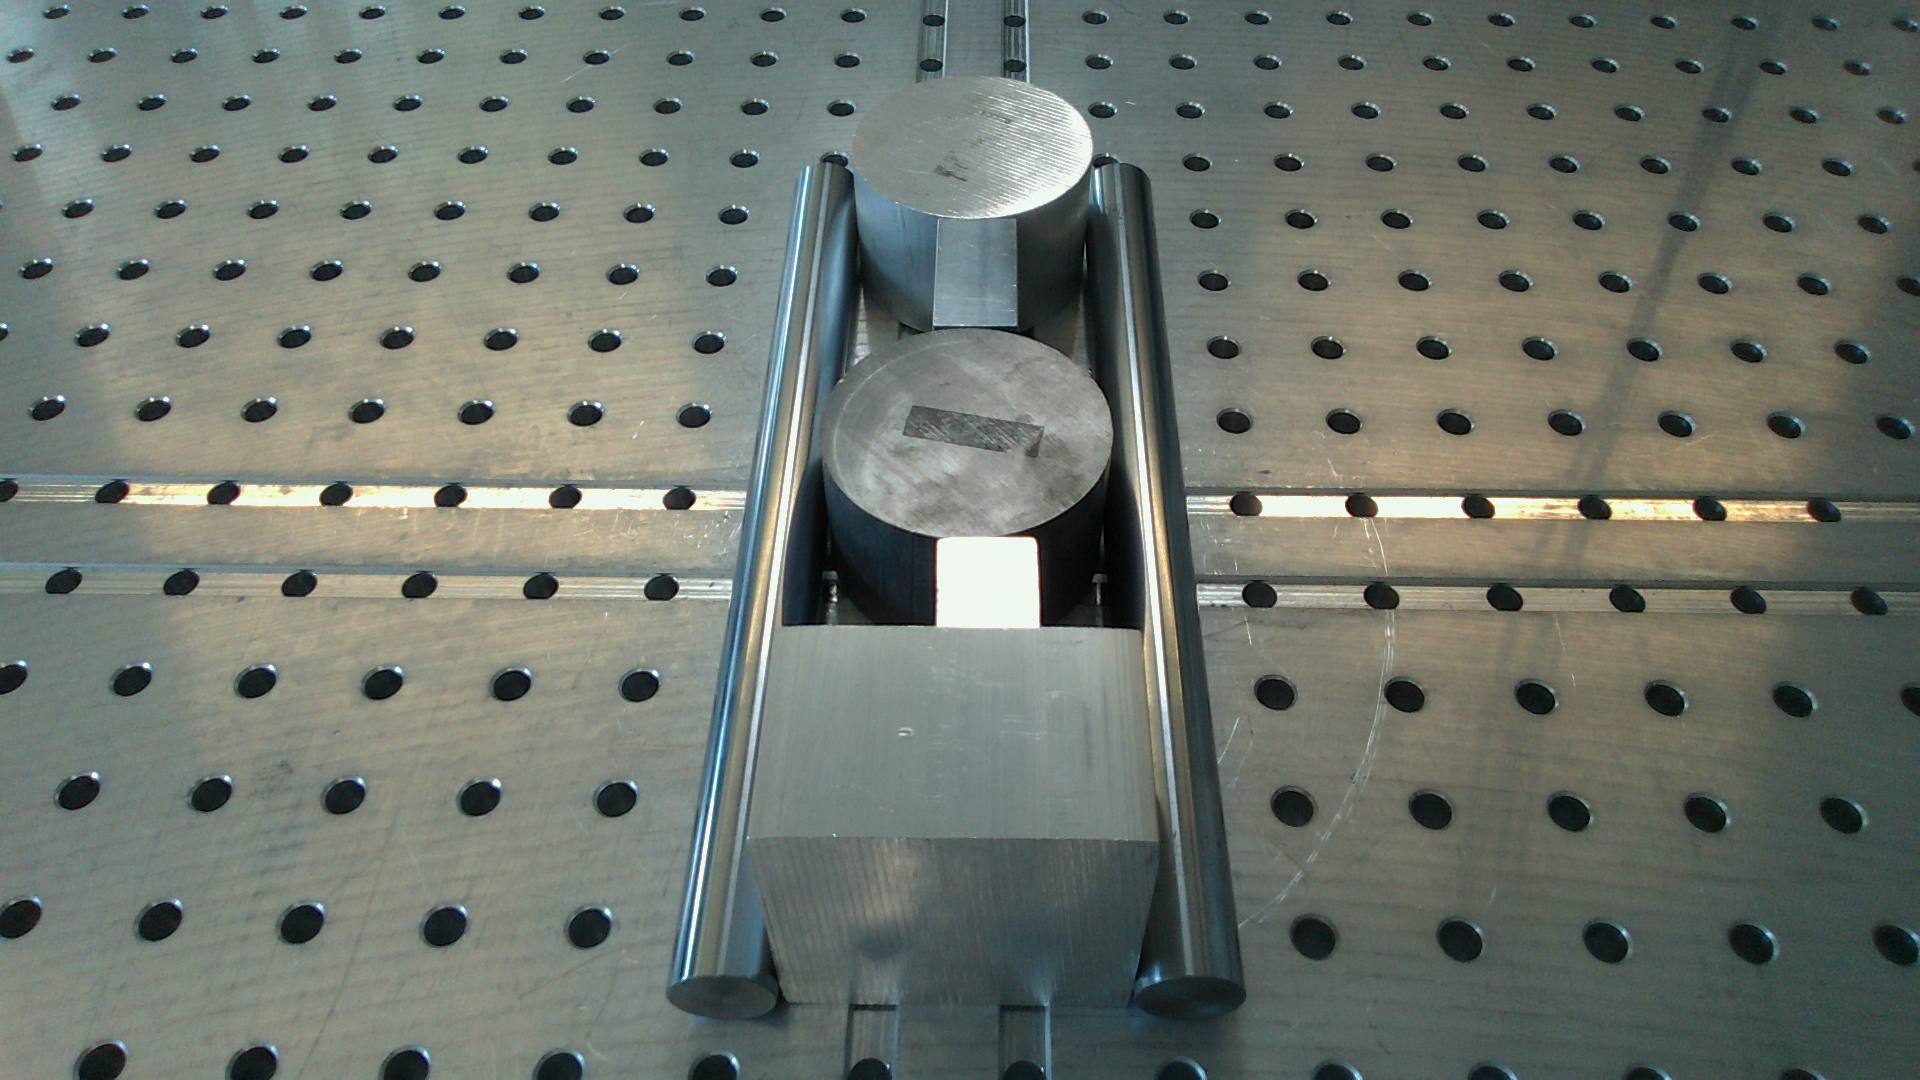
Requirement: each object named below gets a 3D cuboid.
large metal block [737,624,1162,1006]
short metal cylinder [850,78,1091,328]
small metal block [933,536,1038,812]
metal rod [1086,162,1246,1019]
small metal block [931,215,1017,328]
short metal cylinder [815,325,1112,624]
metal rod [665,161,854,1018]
[{"bbox_3d":[-0.001,0.063,0.305,0.080,0.080,0.050,1,50,1],"label":"large metal block"},{"bbox_3d":[0.004,-0.115,0.475,0.080,0.050,0.080,0,50,0],"label":"short metal cylinder"},{"bbox_3d":[0.006,0.034,0.348,0.025,0.050,0.050,0,50,0],"label":"small metal block"},{"bbox_3d":[0.054,-0.012,0.404,0.025,0.025,0.300,1,50,1],"label":"metal rod"},{"bbox_3d":[0.005,-0.066,0.432,0.025,0.050,0.050,1,50,1],"label":"small metal block"},{"bbox_3d":[0.001,-0.016,0.391,0.080,0.050,0.080,0,50,0],"label":"short metal cylinder"},{"bbox_3d":[-0.051,-0.013,0.404,0.025,0.025,0.300,1,50,1],"label":"metal rod"}]
